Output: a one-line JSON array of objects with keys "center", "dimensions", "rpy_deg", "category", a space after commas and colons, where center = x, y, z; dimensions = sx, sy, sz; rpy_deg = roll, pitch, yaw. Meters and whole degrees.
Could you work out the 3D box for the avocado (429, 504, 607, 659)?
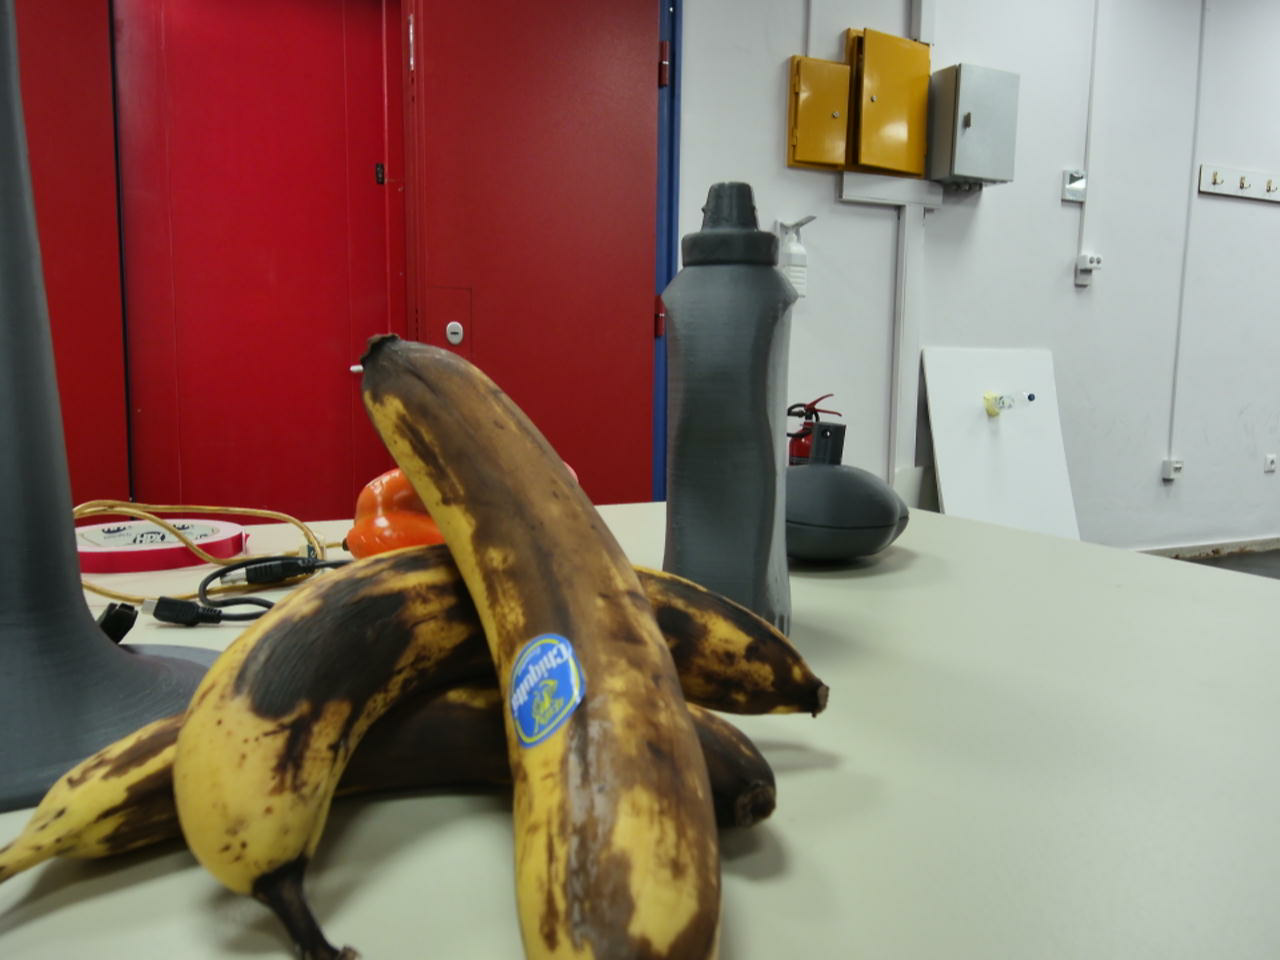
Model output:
[{"center": [-0.053, 0.042, 0.419], "dimensions": [0.062, 0.062, 0.092], "rpy_deg": [4, 6, 40], "category": "avocado"}]
